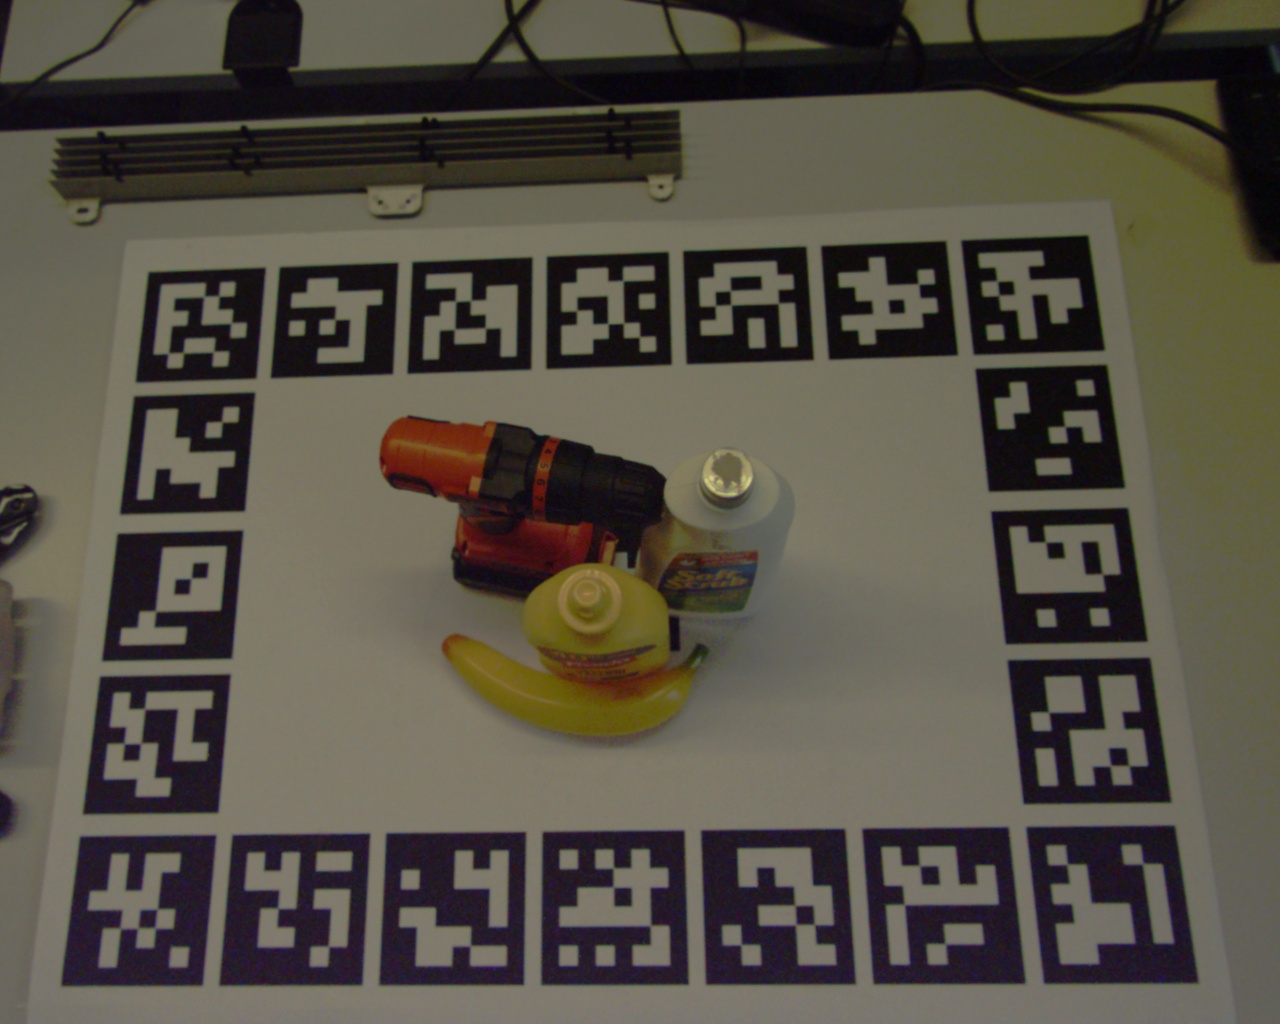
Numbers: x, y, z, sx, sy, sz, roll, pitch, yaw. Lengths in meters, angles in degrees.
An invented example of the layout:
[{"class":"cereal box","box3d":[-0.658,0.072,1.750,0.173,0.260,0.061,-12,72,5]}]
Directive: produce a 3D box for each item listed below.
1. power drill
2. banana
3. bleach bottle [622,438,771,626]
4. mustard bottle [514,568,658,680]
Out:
[{"class":"power drill","box3d":[-0.077,0.003,0.787,0.185,0.186,0.057,12,74,4]},{"class":"banana","box3d":[-0.054,0.128,0.861,0.198,0.038,0.074,4,76,7]},{"class":"bleach bottle","box3d":[0.033,0.014,0.773,0.103,0.250,0.068,2,69,3]},{"class":"mustard bottle","box3d":[-0.036,0.077,0.785,0.096,0.191,0.058,0,75,2]}]
